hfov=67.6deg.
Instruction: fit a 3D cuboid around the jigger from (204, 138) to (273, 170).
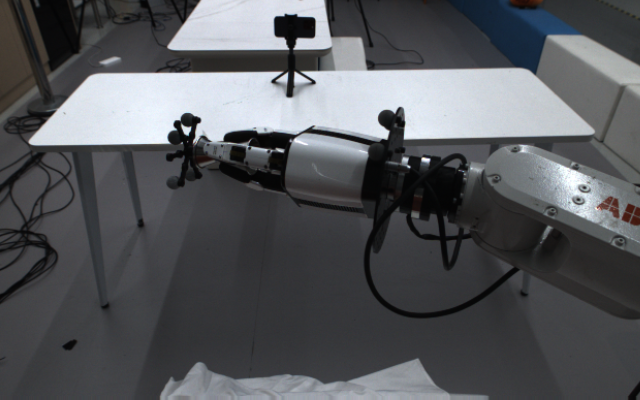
[{"bbox_3d":[-0.103,-0.056,0.572,0.071,0.043,0.043,6,35,14],"label":"jigger"}]
